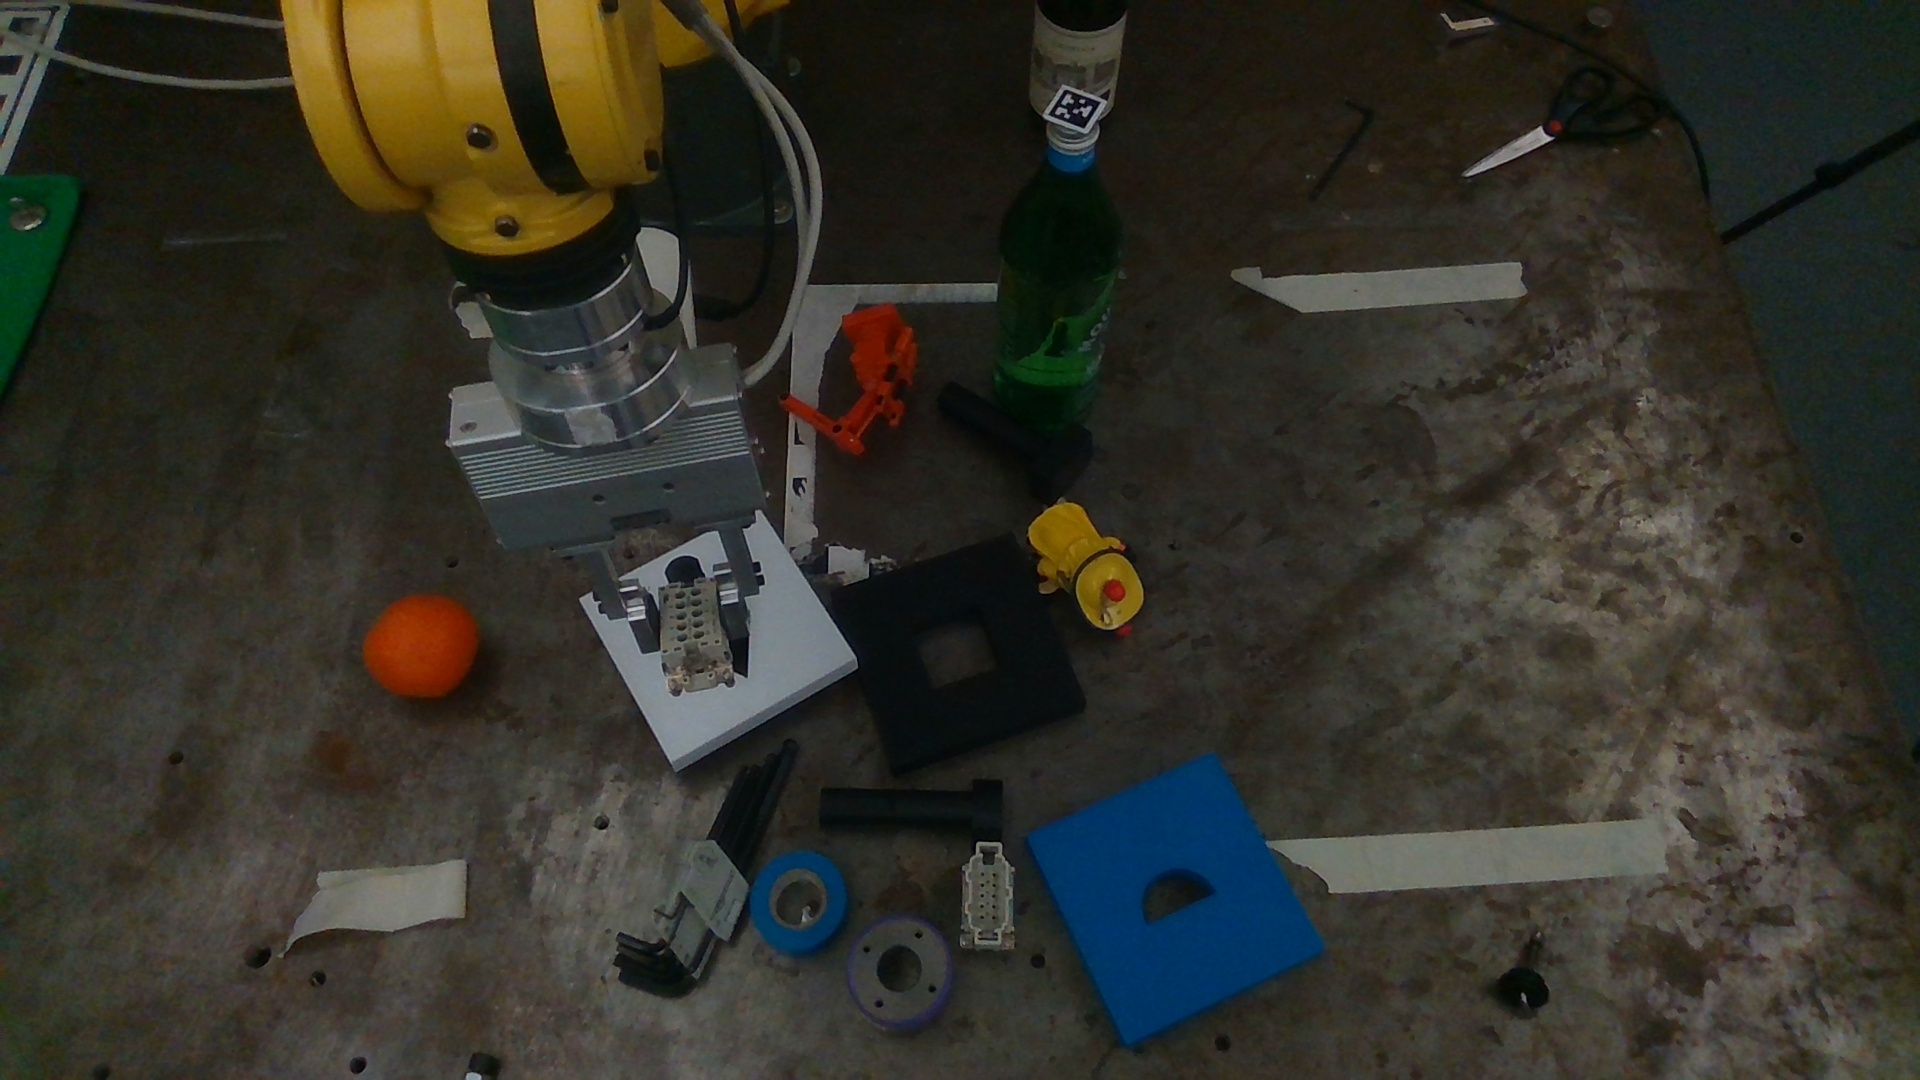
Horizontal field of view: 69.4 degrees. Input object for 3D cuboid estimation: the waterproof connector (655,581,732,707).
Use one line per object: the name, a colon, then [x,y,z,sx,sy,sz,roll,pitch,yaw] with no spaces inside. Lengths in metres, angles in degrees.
waterproof connector: [-0.140,0.053,0.735,0.037,0.038,0.069,-11,51,0]
